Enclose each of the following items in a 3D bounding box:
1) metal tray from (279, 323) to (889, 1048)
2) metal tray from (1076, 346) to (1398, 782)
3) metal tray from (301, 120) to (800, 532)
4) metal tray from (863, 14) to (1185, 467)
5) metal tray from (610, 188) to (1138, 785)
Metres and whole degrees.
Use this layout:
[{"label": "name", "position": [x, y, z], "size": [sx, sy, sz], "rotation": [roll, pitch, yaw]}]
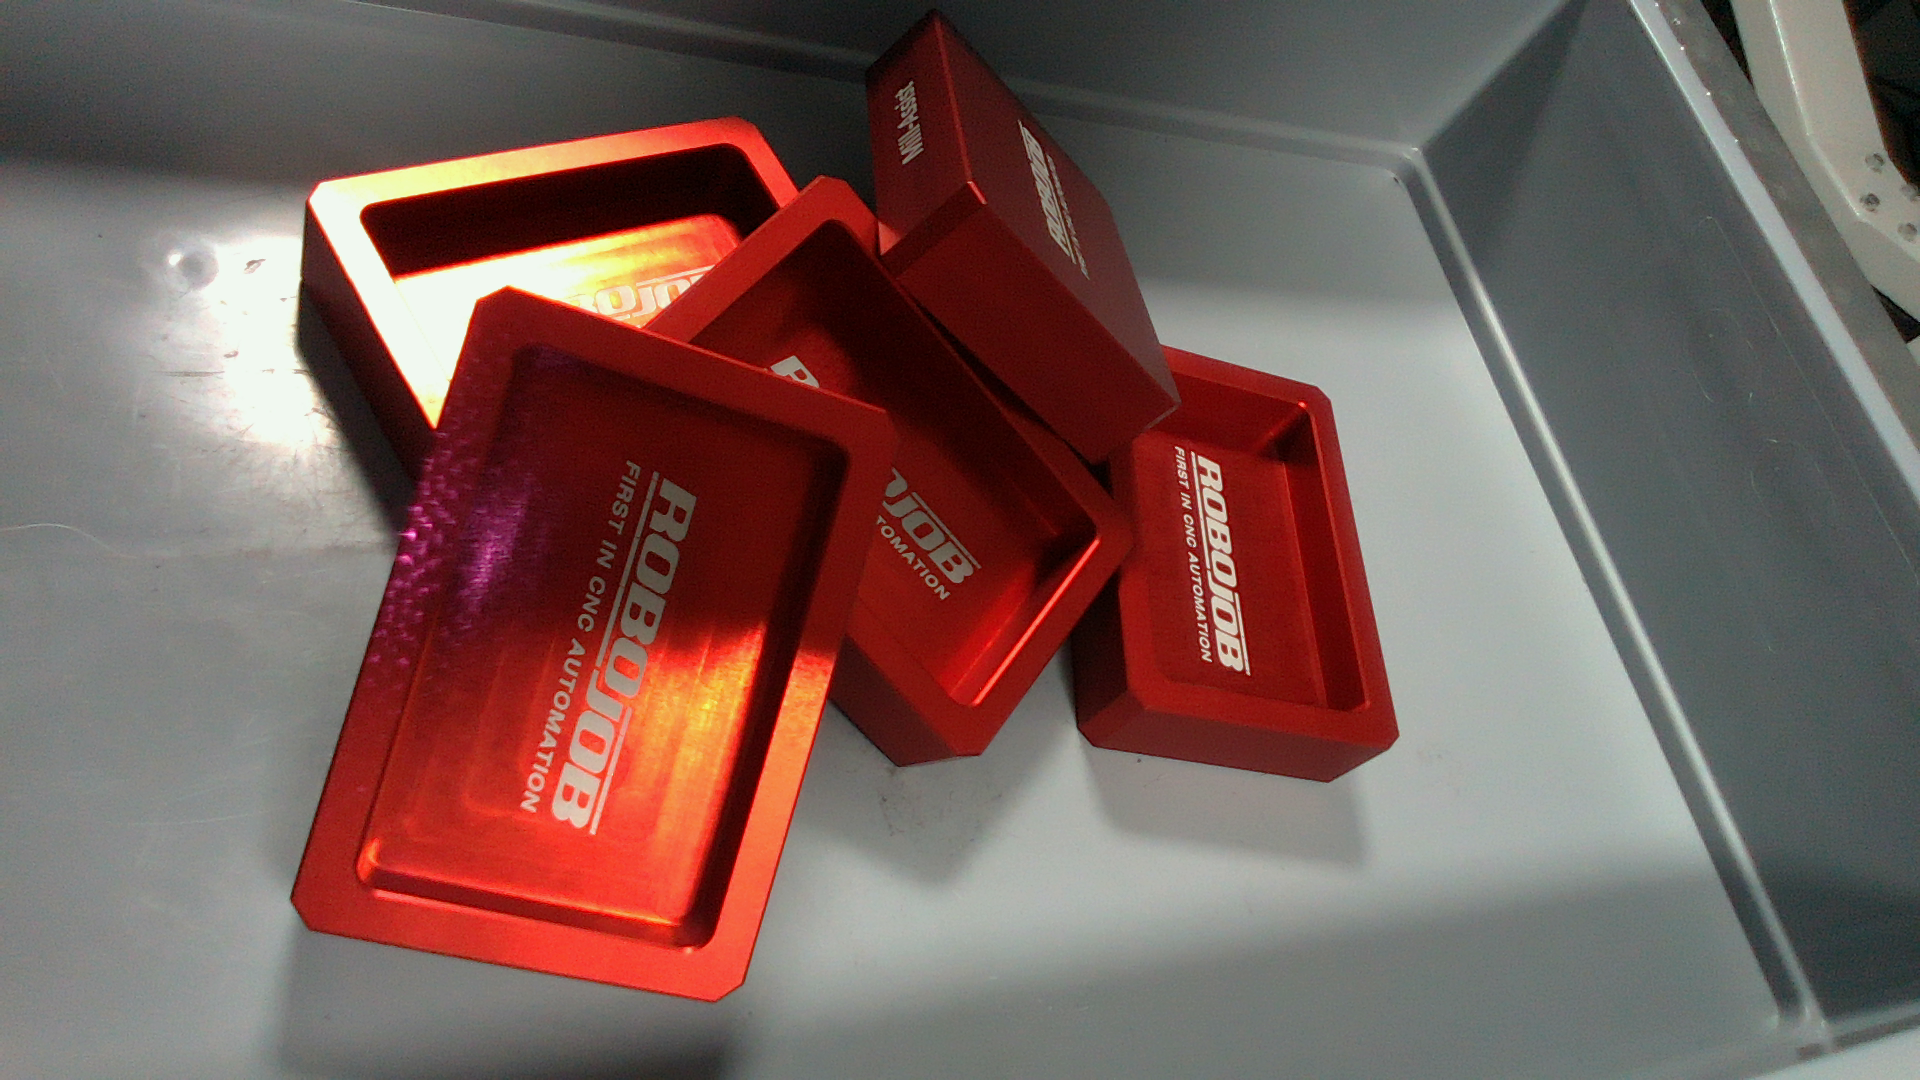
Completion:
[{"label": "metal tray", "position": [-0.075, 0.031, 0.288], "size": [0.090, 0.030, 0.130], "rotation": [16, 84, -19]}, {"label": "metal tray", "position": [0.079, 0.004, 0.425], "size": [0.090, 0.030, 0.130], "rotation": [12, 57, -22]}, {"label": "metal tray", "position": [-0.094, -0.062, 0.372], "size": [0.130, 0.030, 0.090], "rotation": [-23, 74, -36]}, {"label": "metal tray", "position": [0.016, -0.091, 0.405], "size": [0.090, 0.030, 0.130], "rotation": [38, 27, -32]}, {"label": "metal tray", "position": [-0.022, -0.013, 0.353], "size": [0.130, 0.030, 0.090], "rotation": [48, 56, -13]}]
